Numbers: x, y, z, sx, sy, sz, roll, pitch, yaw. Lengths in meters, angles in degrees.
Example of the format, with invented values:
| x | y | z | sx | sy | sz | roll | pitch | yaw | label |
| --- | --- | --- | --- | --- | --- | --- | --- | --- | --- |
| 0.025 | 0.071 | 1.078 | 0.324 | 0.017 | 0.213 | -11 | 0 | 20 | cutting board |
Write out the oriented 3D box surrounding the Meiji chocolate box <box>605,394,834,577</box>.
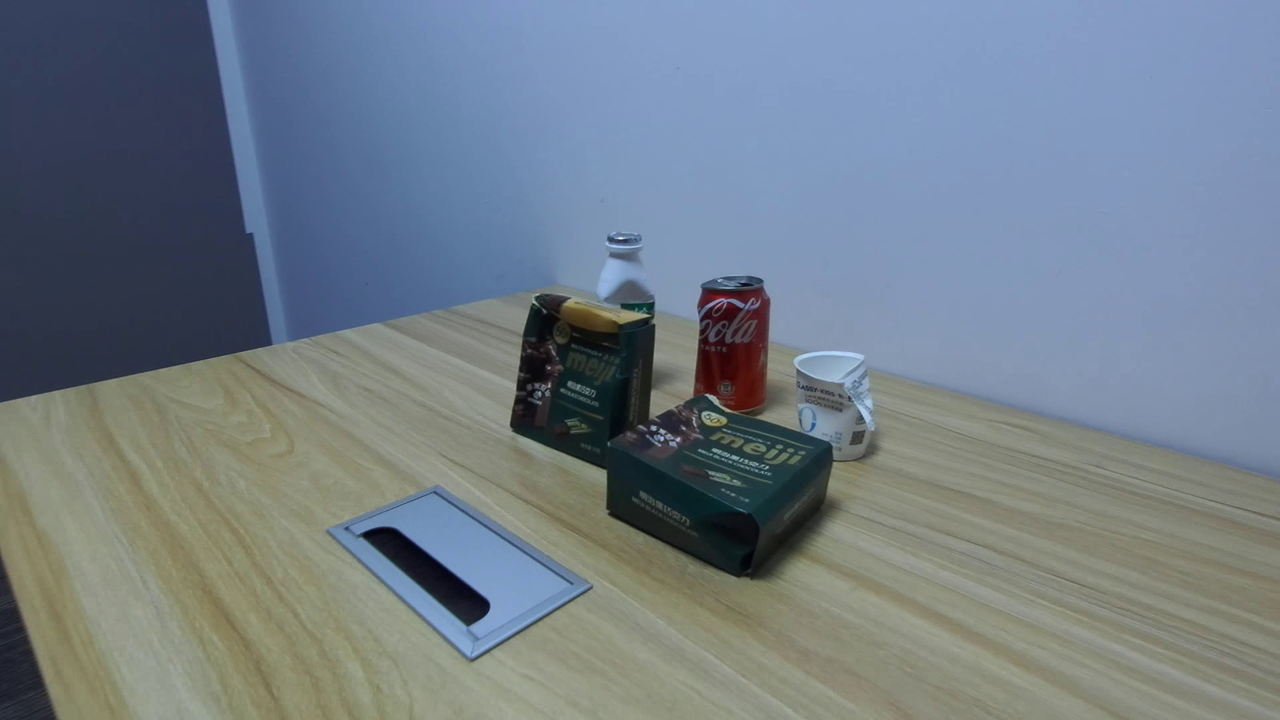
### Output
| x | y | z | sx | sy | sz | roll | pitch | yaw | label |
| --- | --- | --- | --- | --- | --- | --- | --- | --- | --- |
| 0.053 | 0.078 | 0.462 | 0.115 | 0.058 | 0.123 | 19 | 27 | 35 | Meiji chocolate box |

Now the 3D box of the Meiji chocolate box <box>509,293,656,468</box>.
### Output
| x | y | z | sx | sy | sz | roll | pitch | yaw | label |
| --- | --- | --- | --- | --- | --- | --- | --- | --- | --- |
| -0.044 | 0.012 | 0.555 | 0.117 | 0.117 | 0.052 | 16 | 17 | 36 | Meiji chocolate box |

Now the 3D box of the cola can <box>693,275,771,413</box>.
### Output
| x | y | z | sx | sy | sz | roll | pitch | yaw | label |
| --- | --- | --- | --- | --- | --- | --- | --- | --- | --- |
| 0.081 | -0.014 | 0.622 | 0.065 | 0.117 | 0.072 | 15 | 25 | 30 | cola can |

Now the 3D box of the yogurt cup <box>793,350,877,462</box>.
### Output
| x | y | z | sx | sy | sz | roll | pitch | yaw | label |
| --- | --- | --- | --- | --- | --- | --- | --- | --- | --- |
| 0.150 | 0.037 | 0.555 | 0.067 | 0.070 | 0.067 | 0 | 23 | 0 | yogurt cup |

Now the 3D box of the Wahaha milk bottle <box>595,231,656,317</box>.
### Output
| x | y | z | sx | sy | sz | roll | pitch | yaw | label |
| --- | --- | --- | --- | --- | --- | --- | --- | --- | --- |
| -0.012 | -0.041 | 0.652 | 0.056 | 0.147 | 0.056 | 0 | 19 | 0 | Wahaha milk bottle |
